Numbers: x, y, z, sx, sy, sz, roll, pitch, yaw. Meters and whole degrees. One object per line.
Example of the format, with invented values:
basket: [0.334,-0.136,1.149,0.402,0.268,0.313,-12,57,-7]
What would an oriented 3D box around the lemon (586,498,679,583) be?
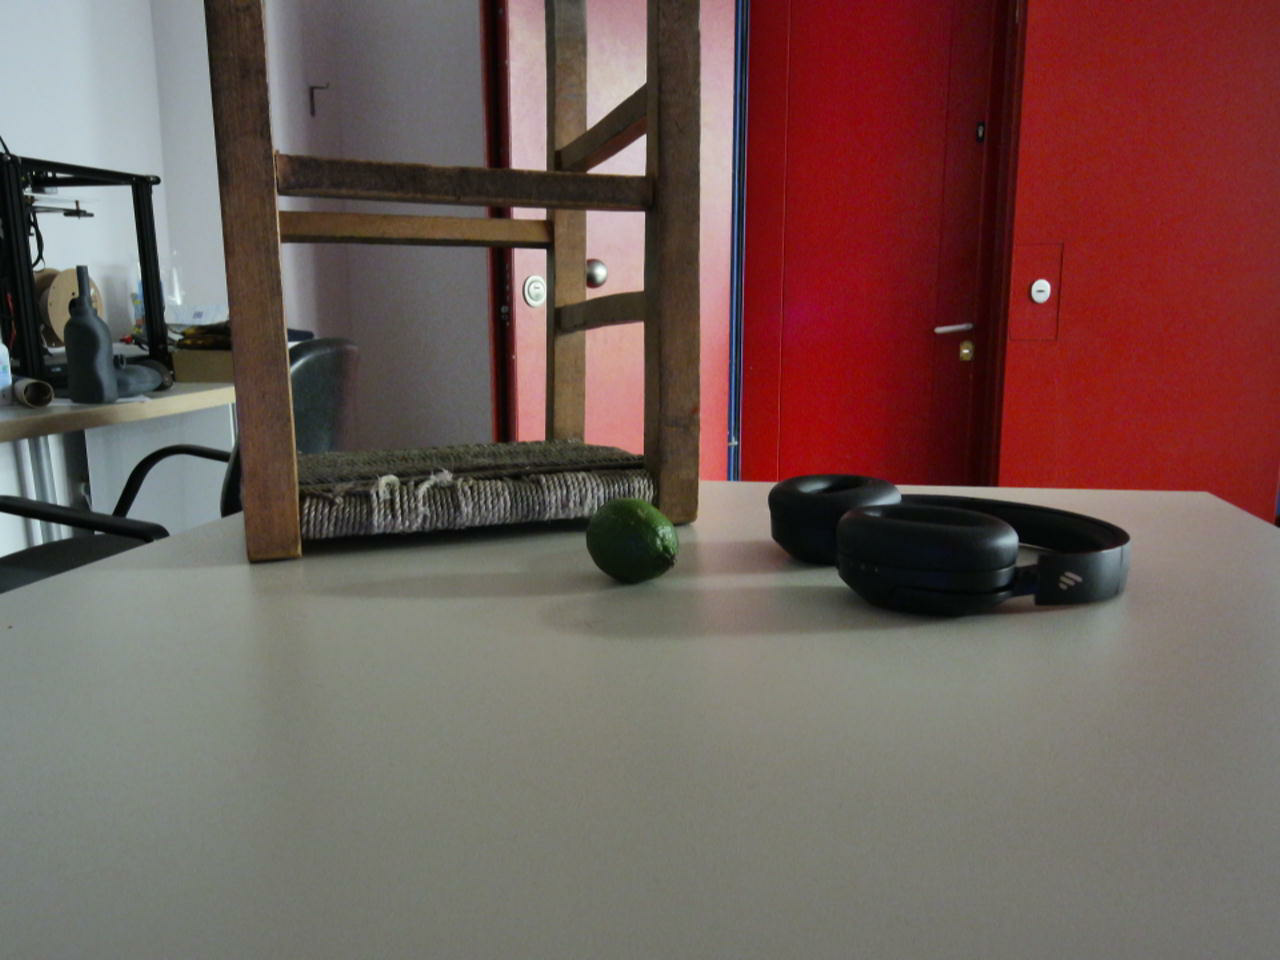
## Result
lemon: [-0.004,0.036,0.615,0.057,0.051,0.054,0,8,7]
